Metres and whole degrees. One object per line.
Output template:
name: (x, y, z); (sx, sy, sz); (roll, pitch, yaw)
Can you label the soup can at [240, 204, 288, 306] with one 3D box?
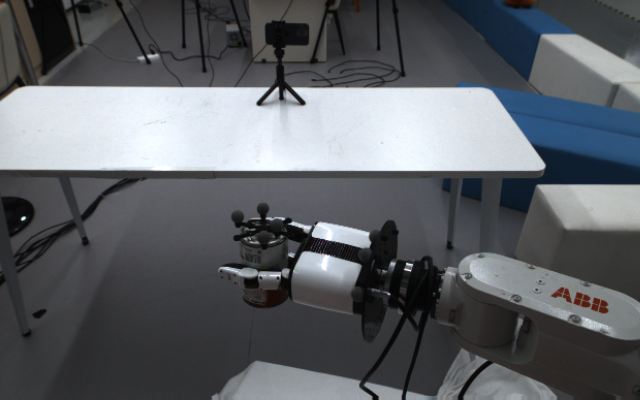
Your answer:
soup can: (-0.075, 0.090, 0.672); (0.067, 0.101, 0.067); (1, 26, 0)
